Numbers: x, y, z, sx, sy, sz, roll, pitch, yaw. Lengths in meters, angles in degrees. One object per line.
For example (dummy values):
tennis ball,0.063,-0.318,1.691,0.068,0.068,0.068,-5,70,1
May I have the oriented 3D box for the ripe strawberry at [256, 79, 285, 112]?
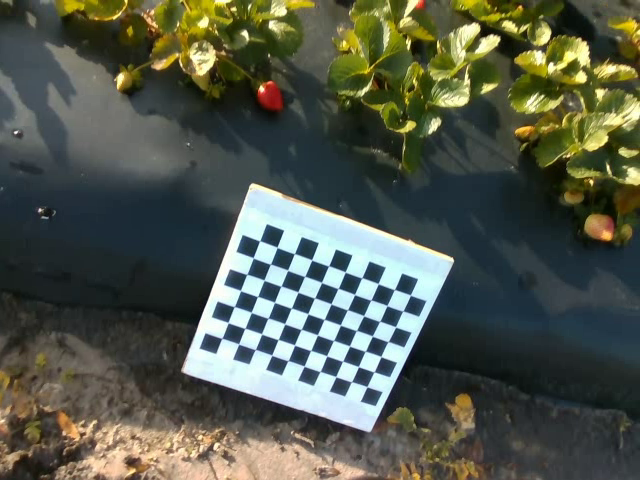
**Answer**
ripe strawberry,-0.058,-0.169,0.814,0.030,0.045,0.033,-37,-13,10
